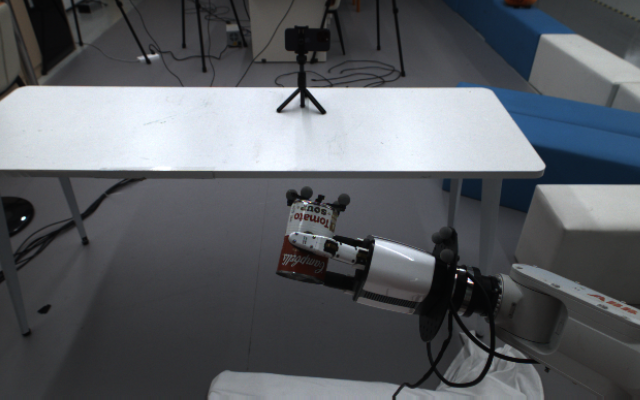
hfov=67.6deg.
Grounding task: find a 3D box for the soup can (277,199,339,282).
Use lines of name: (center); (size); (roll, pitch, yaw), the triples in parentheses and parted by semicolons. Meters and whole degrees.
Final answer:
soup can: (-0.015, 0.058, 0.664); (0.067, 0.067, 0.101); (9, 74, 9)
